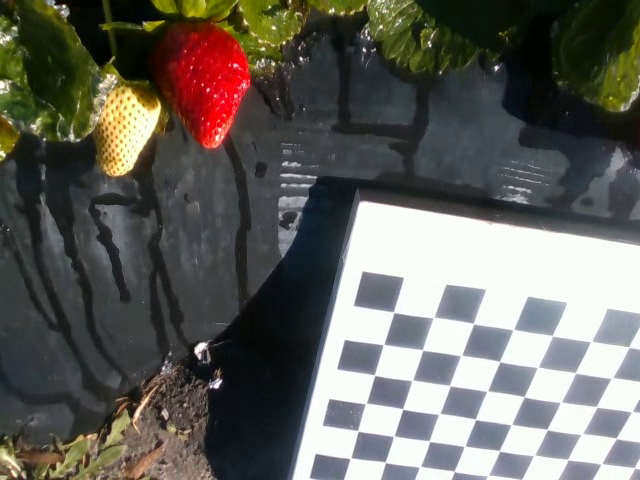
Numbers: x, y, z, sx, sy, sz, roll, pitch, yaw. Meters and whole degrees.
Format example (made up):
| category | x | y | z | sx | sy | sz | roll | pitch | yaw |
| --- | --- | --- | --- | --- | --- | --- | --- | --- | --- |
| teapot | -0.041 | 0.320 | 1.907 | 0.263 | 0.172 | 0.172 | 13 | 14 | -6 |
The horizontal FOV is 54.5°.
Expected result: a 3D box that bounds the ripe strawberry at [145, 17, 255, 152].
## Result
| category | x | y | z | sx | sy | sz | roll | pitch | yaw |
| --- | --- | --- | --- | --- | --- | --- | --- | --- | --- |
| ripe strawberry | -0.050 | -0.064 | 0.276 | 0.042 | 0.061 | 0.046 | -3 | -12 | 1 |
